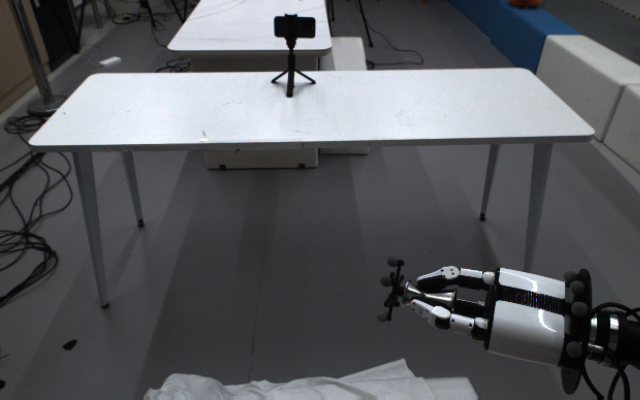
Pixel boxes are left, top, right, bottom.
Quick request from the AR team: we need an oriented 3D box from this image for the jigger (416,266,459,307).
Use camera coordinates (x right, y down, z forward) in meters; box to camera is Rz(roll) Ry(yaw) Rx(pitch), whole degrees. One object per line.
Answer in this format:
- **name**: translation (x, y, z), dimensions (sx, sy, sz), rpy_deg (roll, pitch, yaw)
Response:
- **jigger**: translation (0.161, 0.136, 0.682), dimensions (0.071, 0.043, 0.043), rpy_deg (10, 35, 22)
